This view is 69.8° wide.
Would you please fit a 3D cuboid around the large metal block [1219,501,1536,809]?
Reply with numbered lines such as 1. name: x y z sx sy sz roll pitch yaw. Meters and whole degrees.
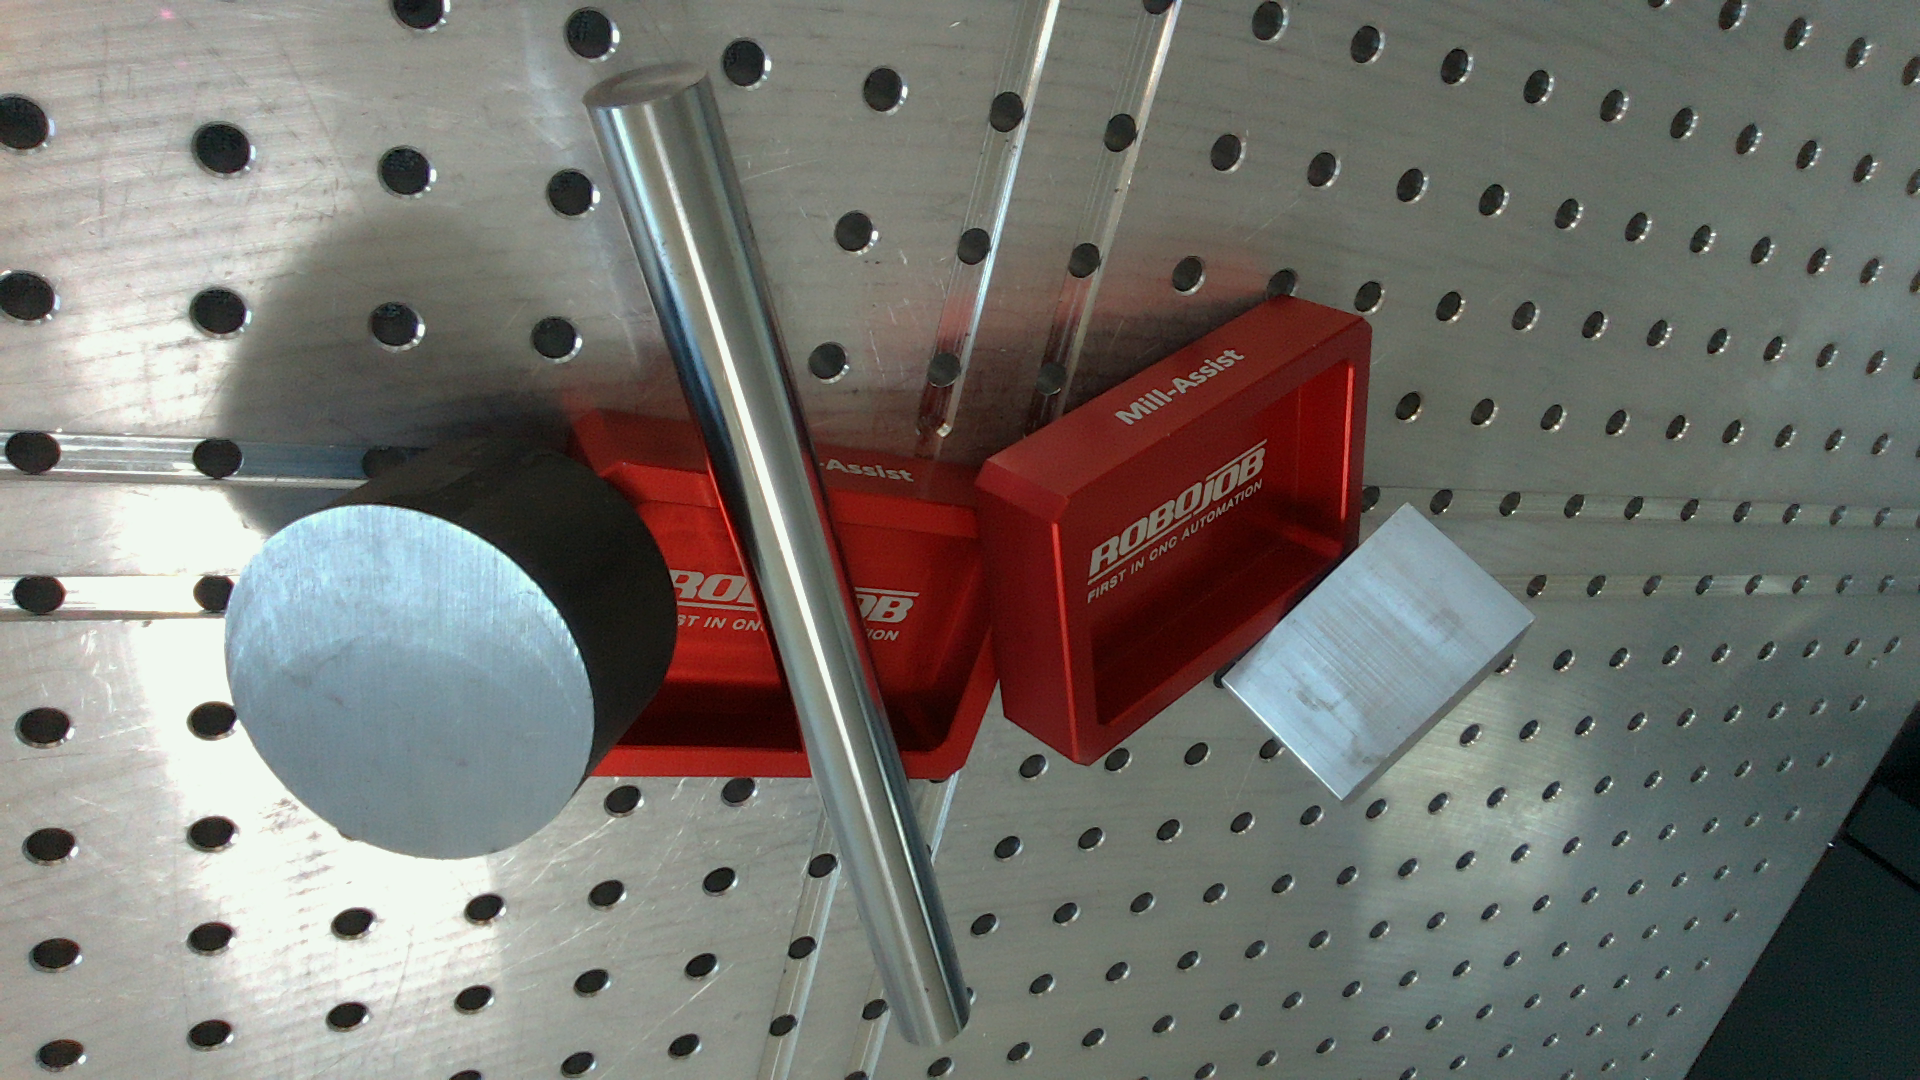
1. large metal block: 0.135 0.042 0.452 0.080 0.050 0.080 -44 160 2

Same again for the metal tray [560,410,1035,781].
1. metal tray: -0.047 0.020 0.375 0.130 0.030 0.090 7 115 -31

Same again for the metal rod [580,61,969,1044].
1. metal rod: -0.035 0.031 0.353 0.025 0.025 0.300 -23 127 -14

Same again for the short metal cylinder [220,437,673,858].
1. short metal cylinder: -0.111 0.022 0.306 0.080 0.050 0.080 3 110 8

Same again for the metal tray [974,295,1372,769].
1. metal tray: 0.066 -0.005 0.397 0.130 0.030 0.090 -31 130 -30
